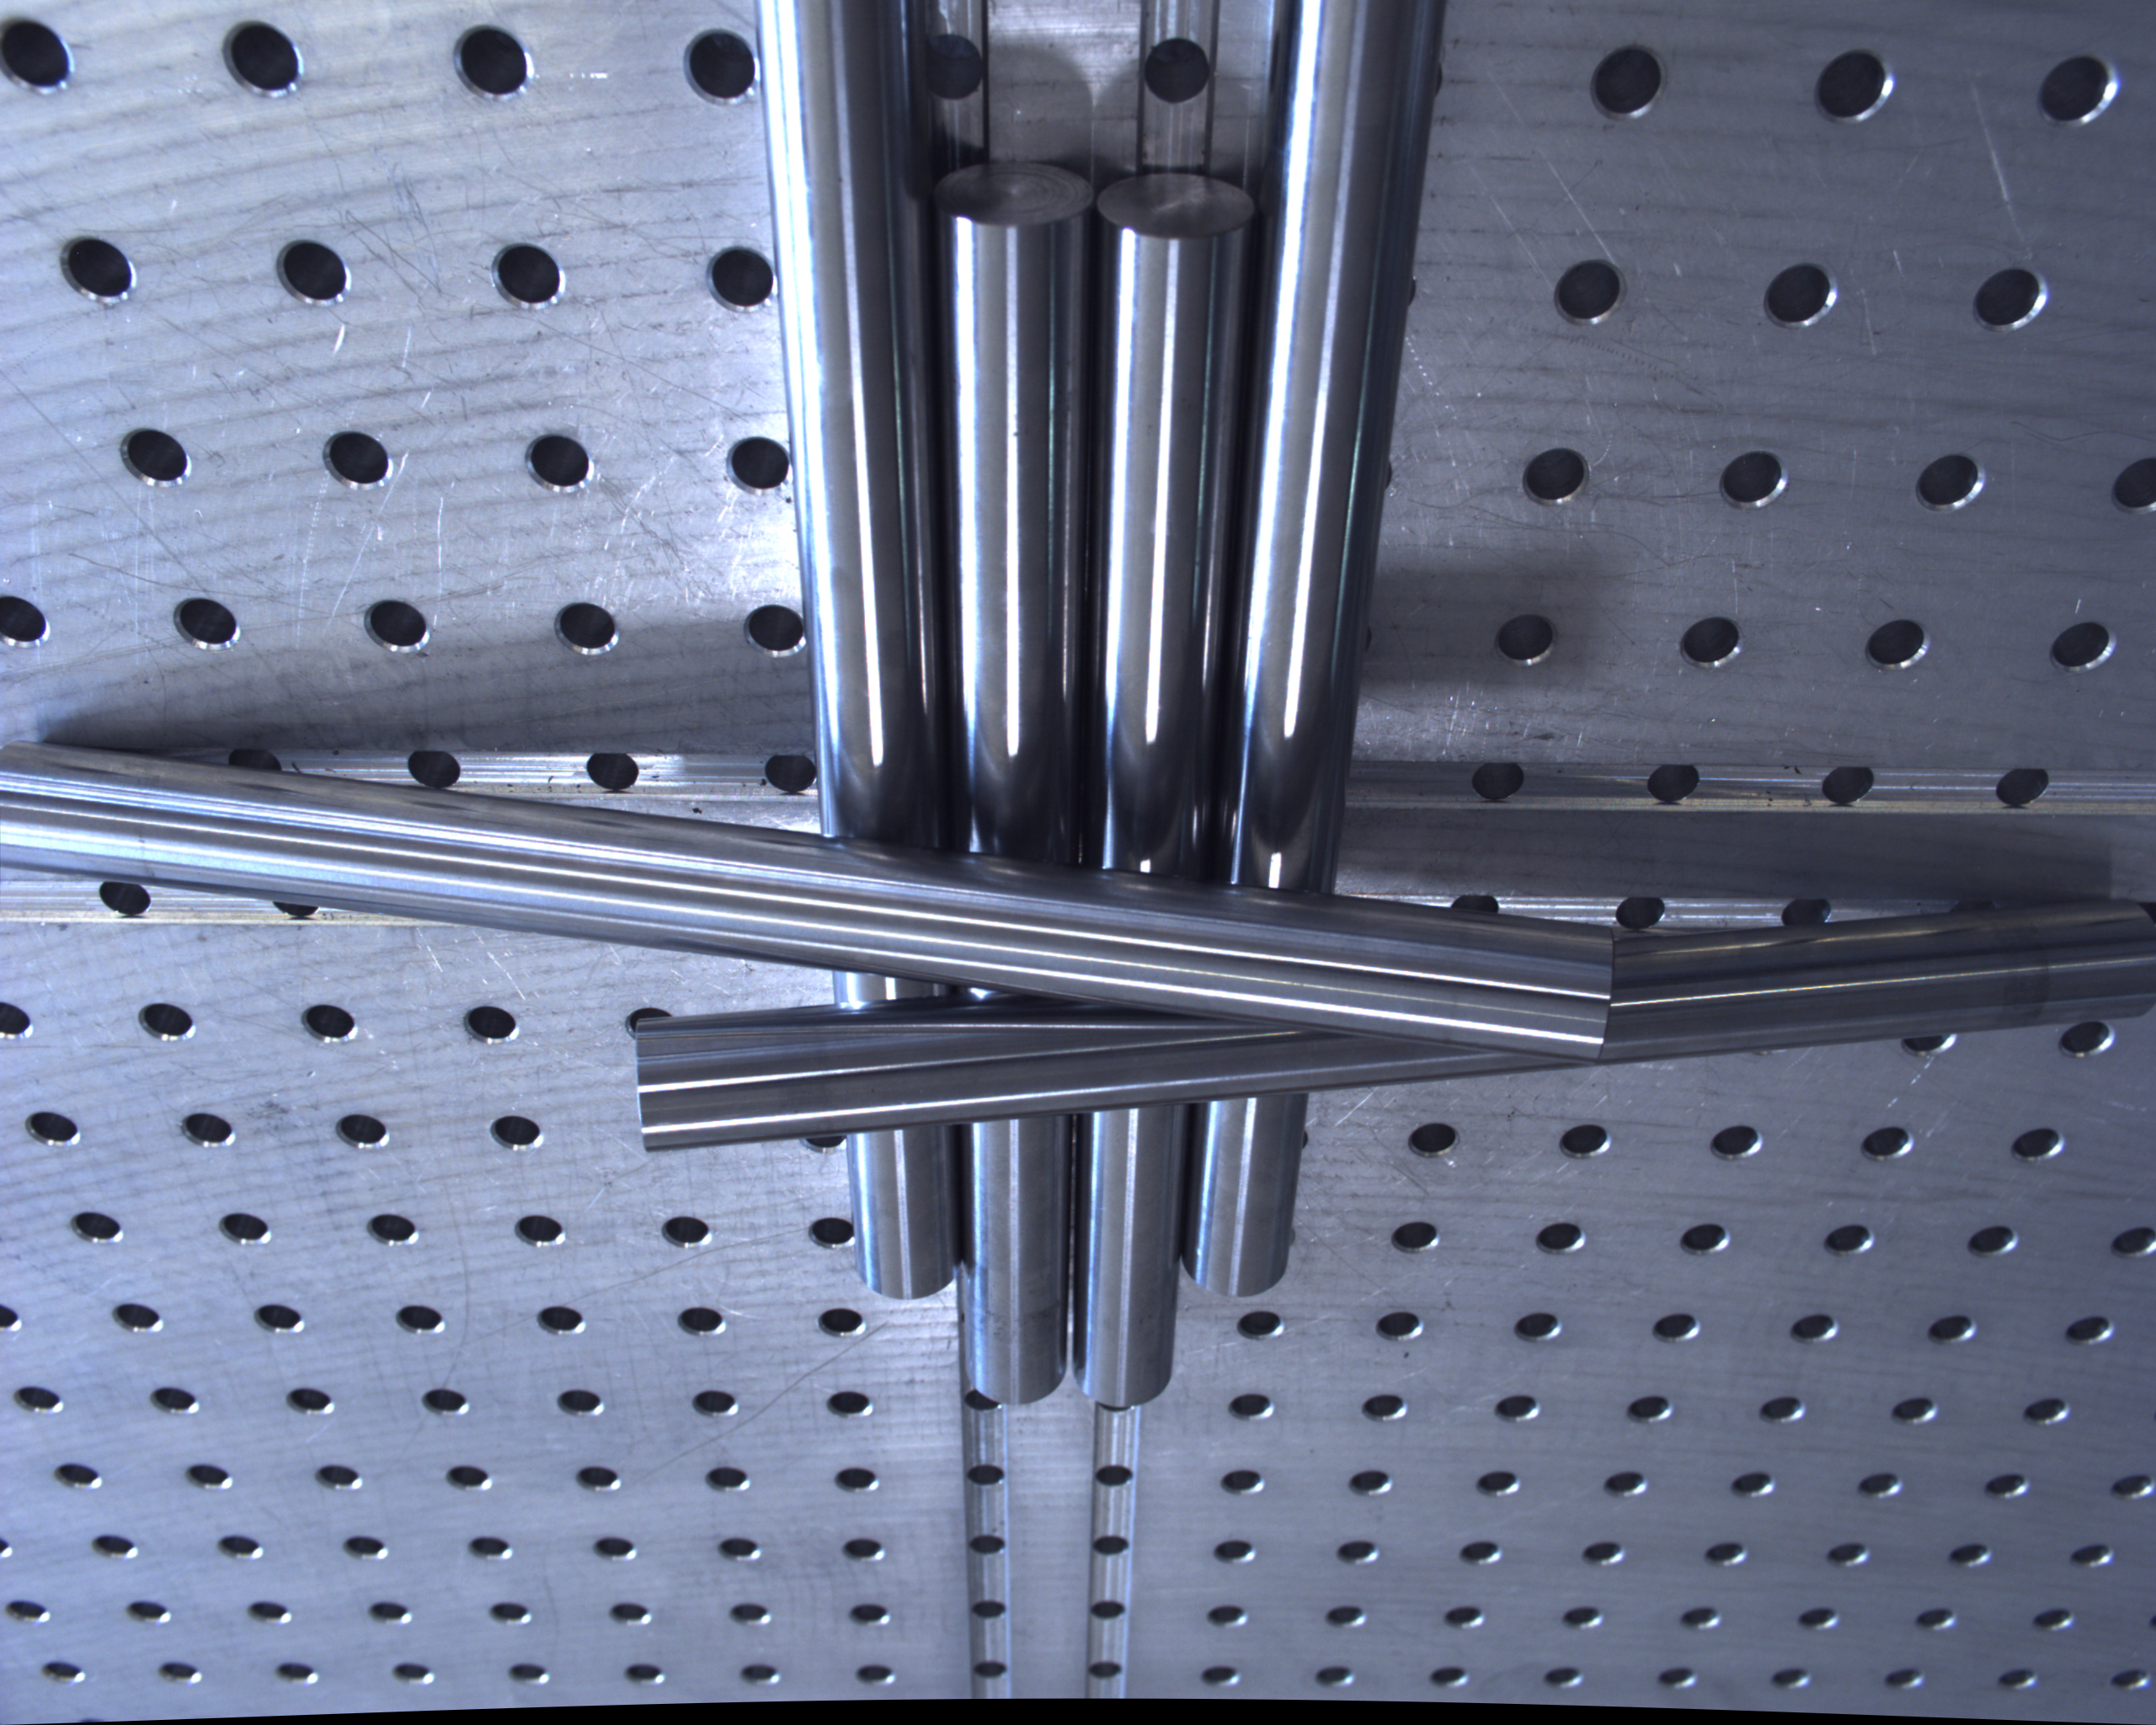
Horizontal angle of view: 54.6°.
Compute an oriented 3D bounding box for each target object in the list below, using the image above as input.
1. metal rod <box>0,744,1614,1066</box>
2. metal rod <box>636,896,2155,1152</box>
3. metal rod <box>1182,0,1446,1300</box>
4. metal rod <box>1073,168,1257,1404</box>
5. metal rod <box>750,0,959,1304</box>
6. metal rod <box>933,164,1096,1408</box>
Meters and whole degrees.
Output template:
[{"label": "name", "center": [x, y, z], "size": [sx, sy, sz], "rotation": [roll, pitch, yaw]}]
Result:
[{"label": "metal rod", "center": [-0.056, 0.007, 0.386], "size": [0.301, 0.025, 0.025], "rotation": [7, 131, 6]}, {"label": "metal rod", "center": [0.068, 0.030, 0.411], "size": [0.302, 0.025, 0.025], "rotation": [-4, 131, -8]}, {"label": "metal rod", "center": [0.039, -0.021, 0.392], "size": [0.025, 0.025, 0.298], "rotation": [1, 130, -1]}, {"label": "metal rod", "center": [0.013, 0.010, 0.422], "size": [0.025, 0.025, 0.298], "rotation": [1, 130, -1]}, {"label": "metal rod", "center": [-0.037, -0.020, 0.393], "size": [0.025, 0.025, 0.298], "rotation": [1, 130, -1]}, {"label": "metal rod", "center": [-0.013, 0.011, 0.419], "size": [0.025, 0.025, 0.298], "rotation": [1, 130, -1]}]
